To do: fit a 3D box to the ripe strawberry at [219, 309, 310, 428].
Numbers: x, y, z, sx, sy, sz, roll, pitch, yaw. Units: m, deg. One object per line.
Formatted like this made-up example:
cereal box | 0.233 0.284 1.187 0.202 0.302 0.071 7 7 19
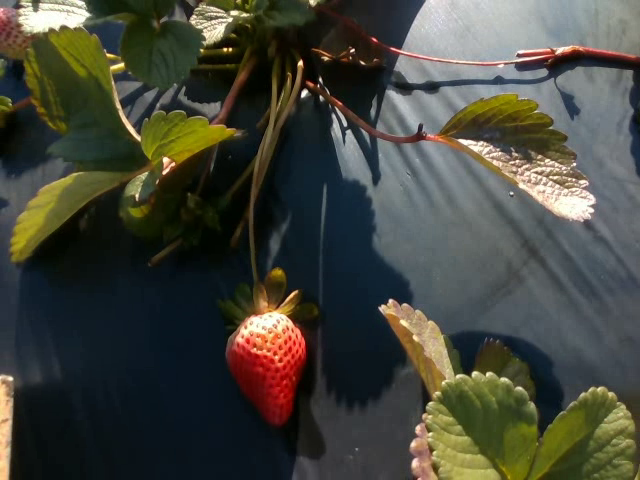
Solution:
ripe strawberry | -0.022 0.058 0.269 0.043 0.064 0.045 2 -34 -35
